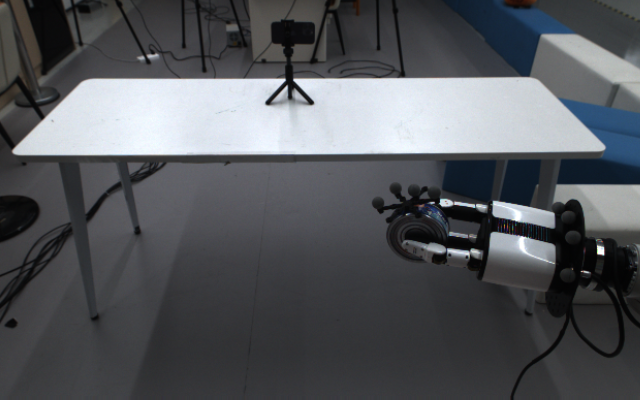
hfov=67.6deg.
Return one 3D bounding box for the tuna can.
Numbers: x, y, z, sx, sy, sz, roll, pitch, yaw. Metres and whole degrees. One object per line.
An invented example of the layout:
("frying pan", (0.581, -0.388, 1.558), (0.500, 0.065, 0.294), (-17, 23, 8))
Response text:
("tuna can", (0.140, 0.044, 0.682), (0.085, 0.085, 0.034), (11, 34, 13))
